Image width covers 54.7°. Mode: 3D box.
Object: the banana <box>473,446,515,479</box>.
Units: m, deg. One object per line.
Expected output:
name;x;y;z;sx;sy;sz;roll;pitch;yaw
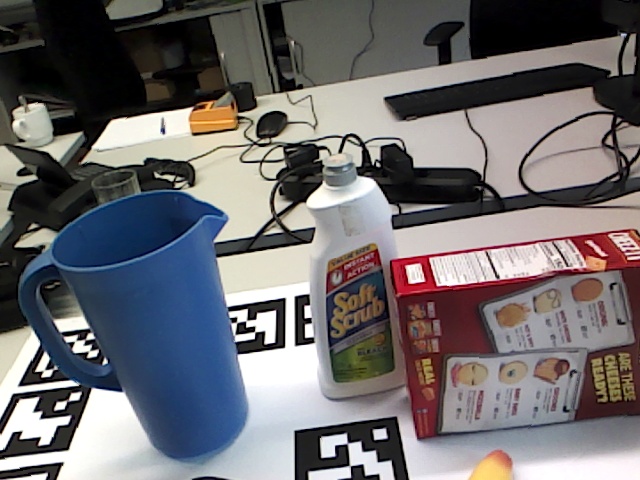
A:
banana;0.101;0.233;0.497;0.196;0.039;0.075;-28;32;-29

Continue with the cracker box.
cracker box;0.187;0.083;0.563;0.214;0.163;0.072;-11;25;4

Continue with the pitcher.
pitcher;-0.159;0.087;0.581;0.188;0.242;0.134;-17;28;-17

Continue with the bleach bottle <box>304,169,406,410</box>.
bleach bottle;0.025;0.052;0.621;0.102;0.250;0.068;-10;27;1
